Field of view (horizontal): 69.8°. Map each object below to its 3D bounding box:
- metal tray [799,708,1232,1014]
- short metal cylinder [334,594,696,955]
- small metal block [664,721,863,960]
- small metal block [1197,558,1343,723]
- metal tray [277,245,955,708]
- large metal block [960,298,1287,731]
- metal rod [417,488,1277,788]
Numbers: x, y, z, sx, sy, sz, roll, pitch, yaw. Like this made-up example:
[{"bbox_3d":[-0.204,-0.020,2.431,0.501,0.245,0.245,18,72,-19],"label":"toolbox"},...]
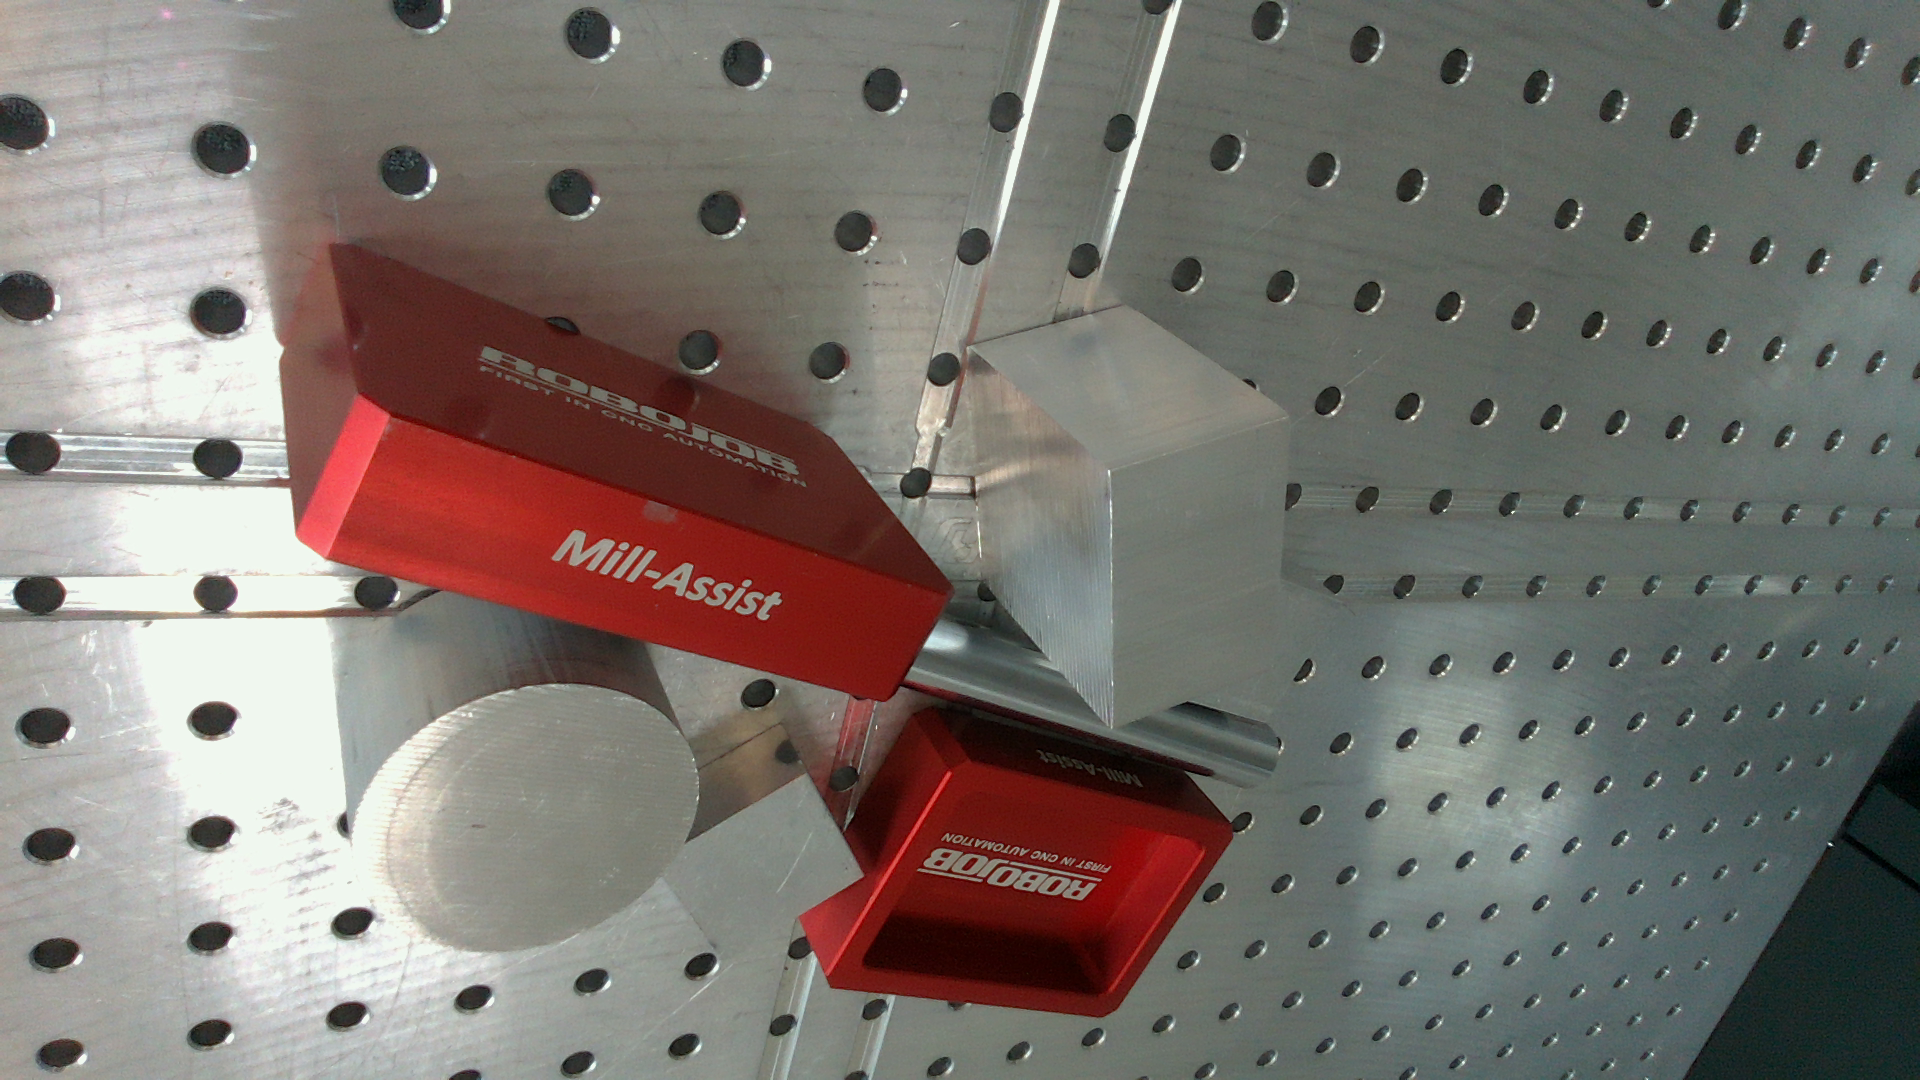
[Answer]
[{"bbox_3d":[0.021,0.114,0.469,0.130,0.030,0.090,20,108,-36],"label":"metal tray"},{"bbox_3d":[-0.113,0.057,0.349,0.080,0.050,0.080,-14,124,-21],"label":"short metal cylinder"},{"bbox_3d":[-0.064,0.091,0.414,0.050,0.025,0.050,-29,128,-10],"label":"small metal block"},{"bbox_3d":[0.091,0.029,0.459,0.050,0.025,0.050,18,109,-35],"label":"small metal block"},{"bbox_3d":[-0.074,-0.013,0.301,0.130,0.090,0.030,20,108,-36],"label":"metal tray"},{"bbox_3d":[0.042,-0.010,0.375,0.050,0.080,0.080,-17,125,-18],"label":"large metal block"},{"bbox_3d":[-0.010,0.033,0.407,0.301,0.025,0.025,21,107,-36],"label":"metal rod"}]
